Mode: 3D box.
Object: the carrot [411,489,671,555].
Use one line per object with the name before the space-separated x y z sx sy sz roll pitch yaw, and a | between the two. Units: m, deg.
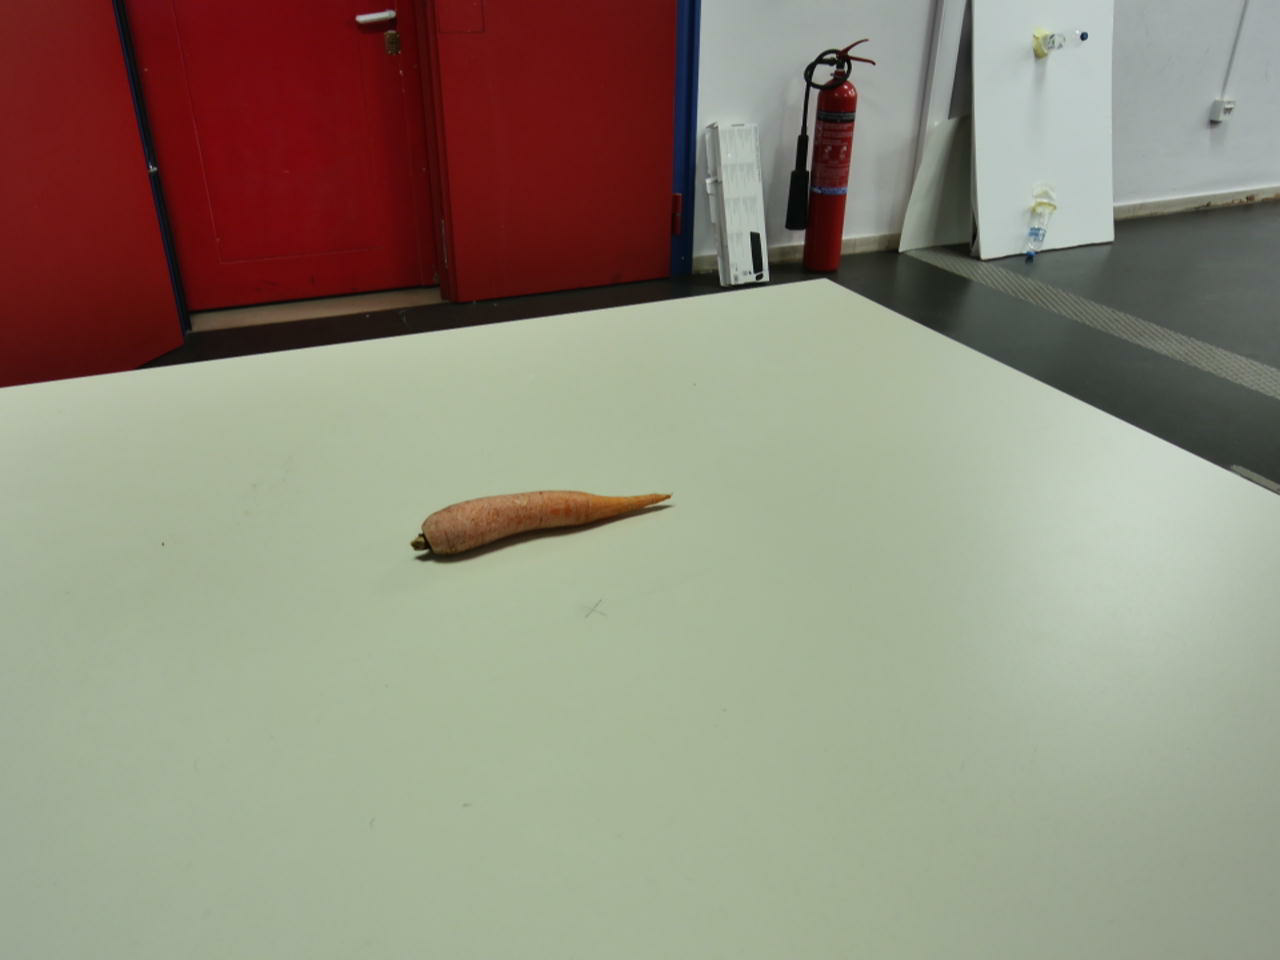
carrot | -0.057 0.018 0.605 0.163 0.029 0.031 -11 29 -22
